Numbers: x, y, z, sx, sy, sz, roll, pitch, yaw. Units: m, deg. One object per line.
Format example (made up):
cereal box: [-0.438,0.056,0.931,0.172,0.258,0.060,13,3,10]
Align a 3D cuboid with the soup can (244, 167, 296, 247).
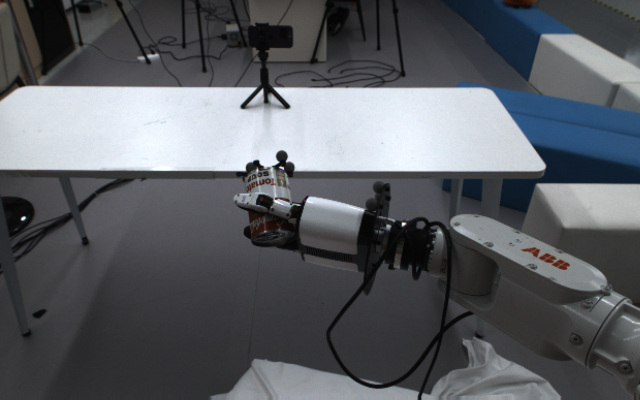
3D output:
soup can: [-0.072,0.012,0.715,0.067,0.067,0.101,-6,67,-12]
